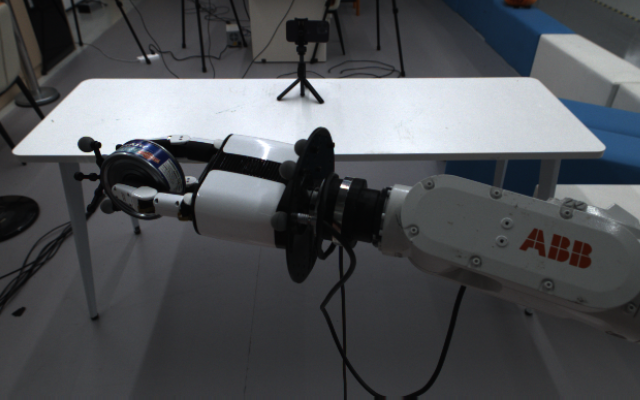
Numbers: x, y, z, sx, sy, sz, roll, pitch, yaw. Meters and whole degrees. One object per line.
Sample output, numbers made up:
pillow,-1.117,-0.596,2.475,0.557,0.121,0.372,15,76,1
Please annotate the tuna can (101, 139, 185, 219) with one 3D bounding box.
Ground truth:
tuna can,-0.192,-0.022,0.530,0.085,0.085,0.034,9,34,10
